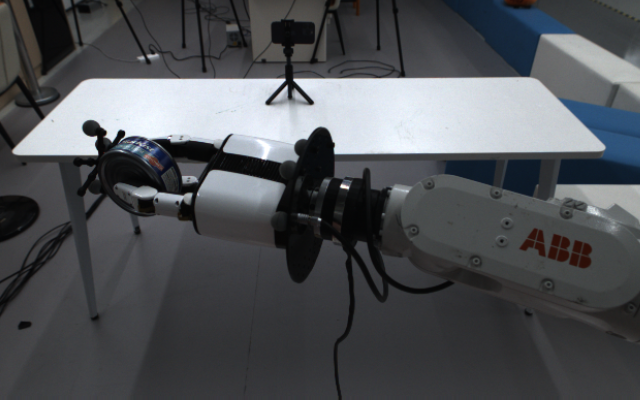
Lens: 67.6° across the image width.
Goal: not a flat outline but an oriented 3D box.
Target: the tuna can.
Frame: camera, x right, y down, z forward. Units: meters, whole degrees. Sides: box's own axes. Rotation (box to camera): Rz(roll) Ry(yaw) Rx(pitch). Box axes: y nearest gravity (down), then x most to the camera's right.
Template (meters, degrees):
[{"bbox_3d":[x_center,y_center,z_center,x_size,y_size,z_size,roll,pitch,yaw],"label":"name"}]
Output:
[{"bbox_3d":[-0.194,-0.020,0.528,0.085,0.085,0.034,11,35,13],"label":"tuna can"}]
